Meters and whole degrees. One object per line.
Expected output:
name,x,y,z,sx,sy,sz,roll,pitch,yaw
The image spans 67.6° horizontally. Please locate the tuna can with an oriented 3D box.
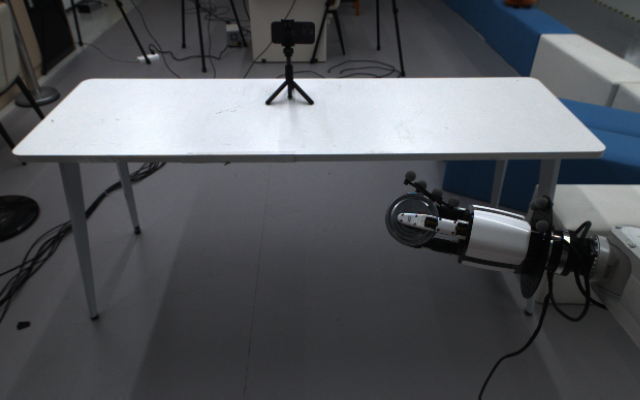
tuna can,0.152,0.037,0.772,0.085,0.085,0.034,12,-4,15
